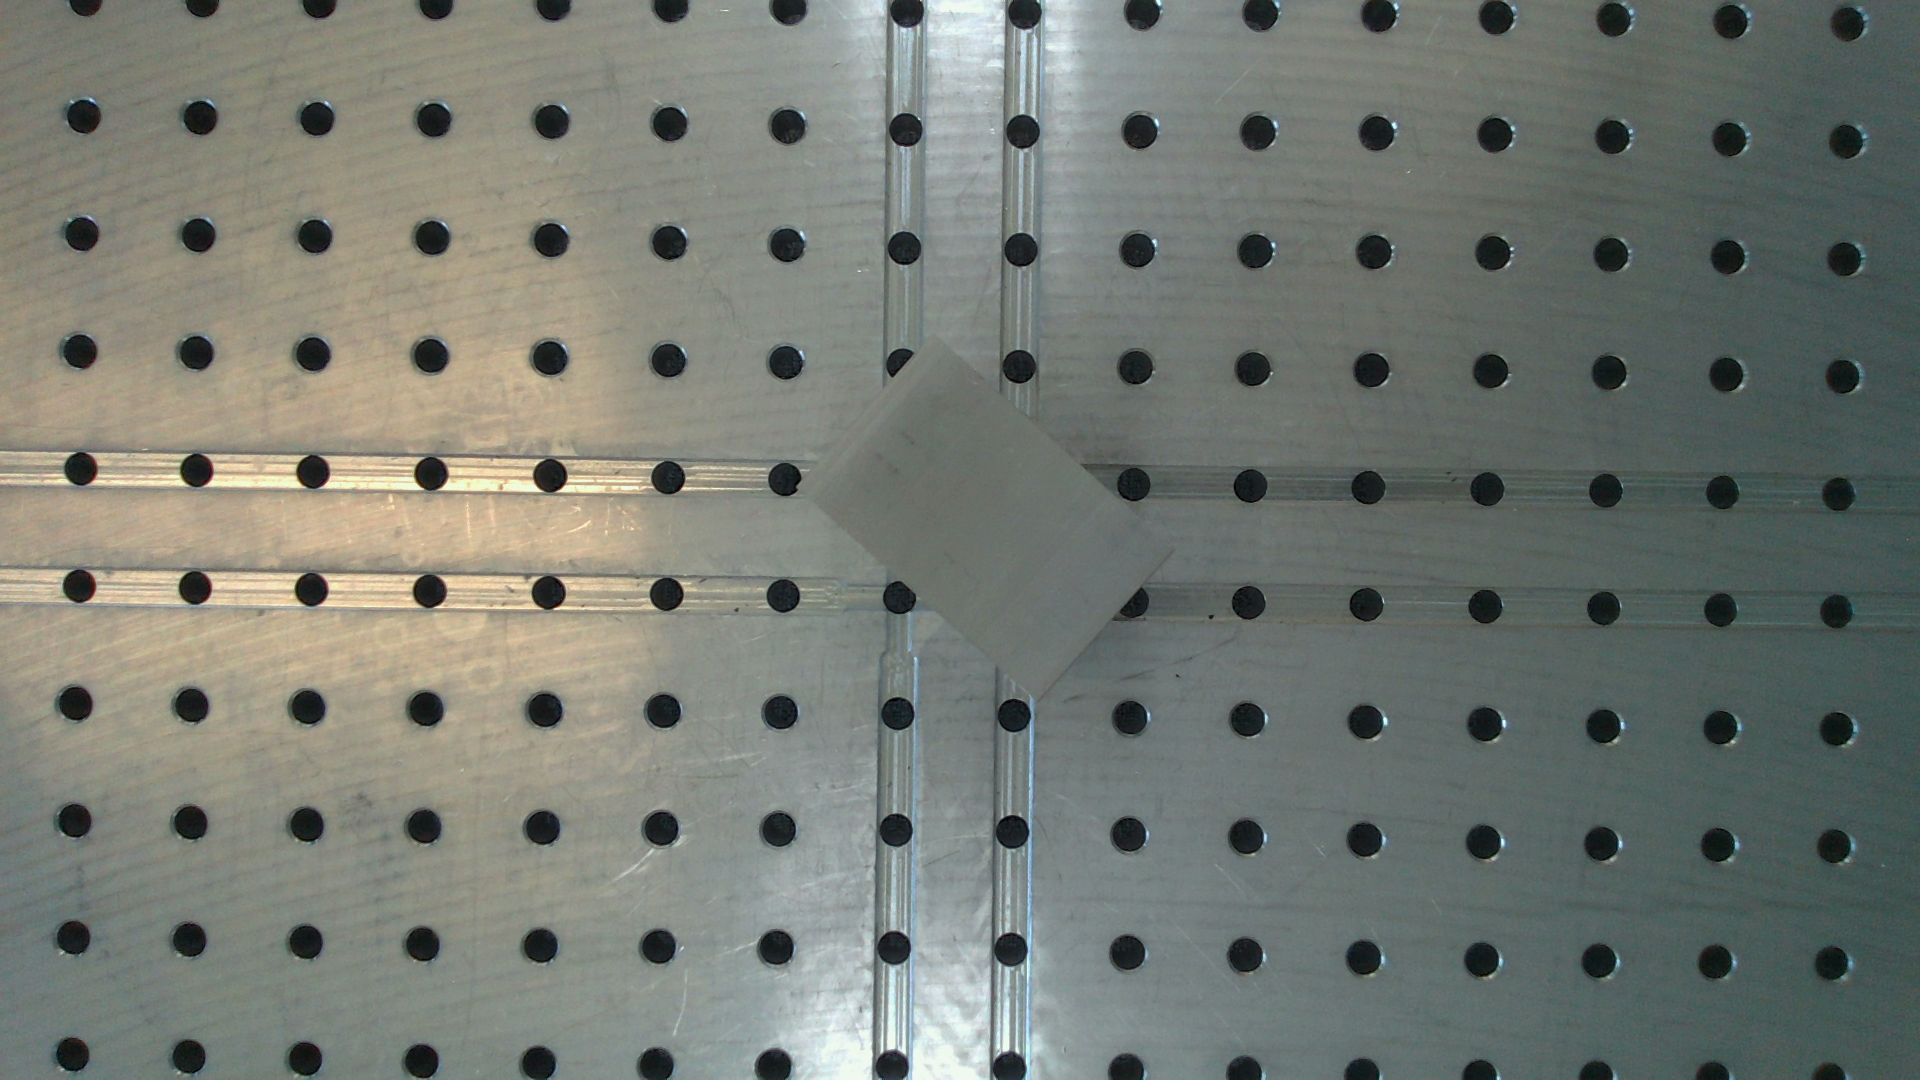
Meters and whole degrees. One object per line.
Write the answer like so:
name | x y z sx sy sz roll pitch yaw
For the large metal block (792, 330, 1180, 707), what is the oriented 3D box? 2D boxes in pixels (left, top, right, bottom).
large metal block | 0.006 -0.006 0.370 0.080 0.080 0.050 41 90 -1
